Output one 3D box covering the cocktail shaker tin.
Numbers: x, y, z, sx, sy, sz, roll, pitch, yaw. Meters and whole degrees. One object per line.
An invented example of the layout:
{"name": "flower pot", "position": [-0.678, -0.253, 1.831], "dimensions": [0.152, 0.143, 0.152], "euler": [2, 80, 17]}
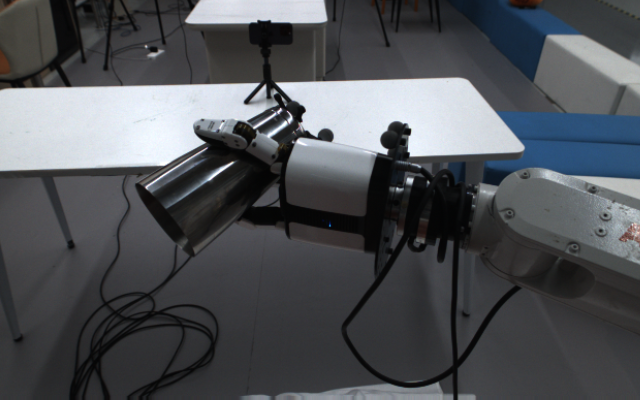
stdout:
{"name": "cocktail shaker tin", "position": [-0.094, -0.032, 0.514], "dimensions": [0.170, 0.093, 0.093], "euler": [-38, 49, -24]}
